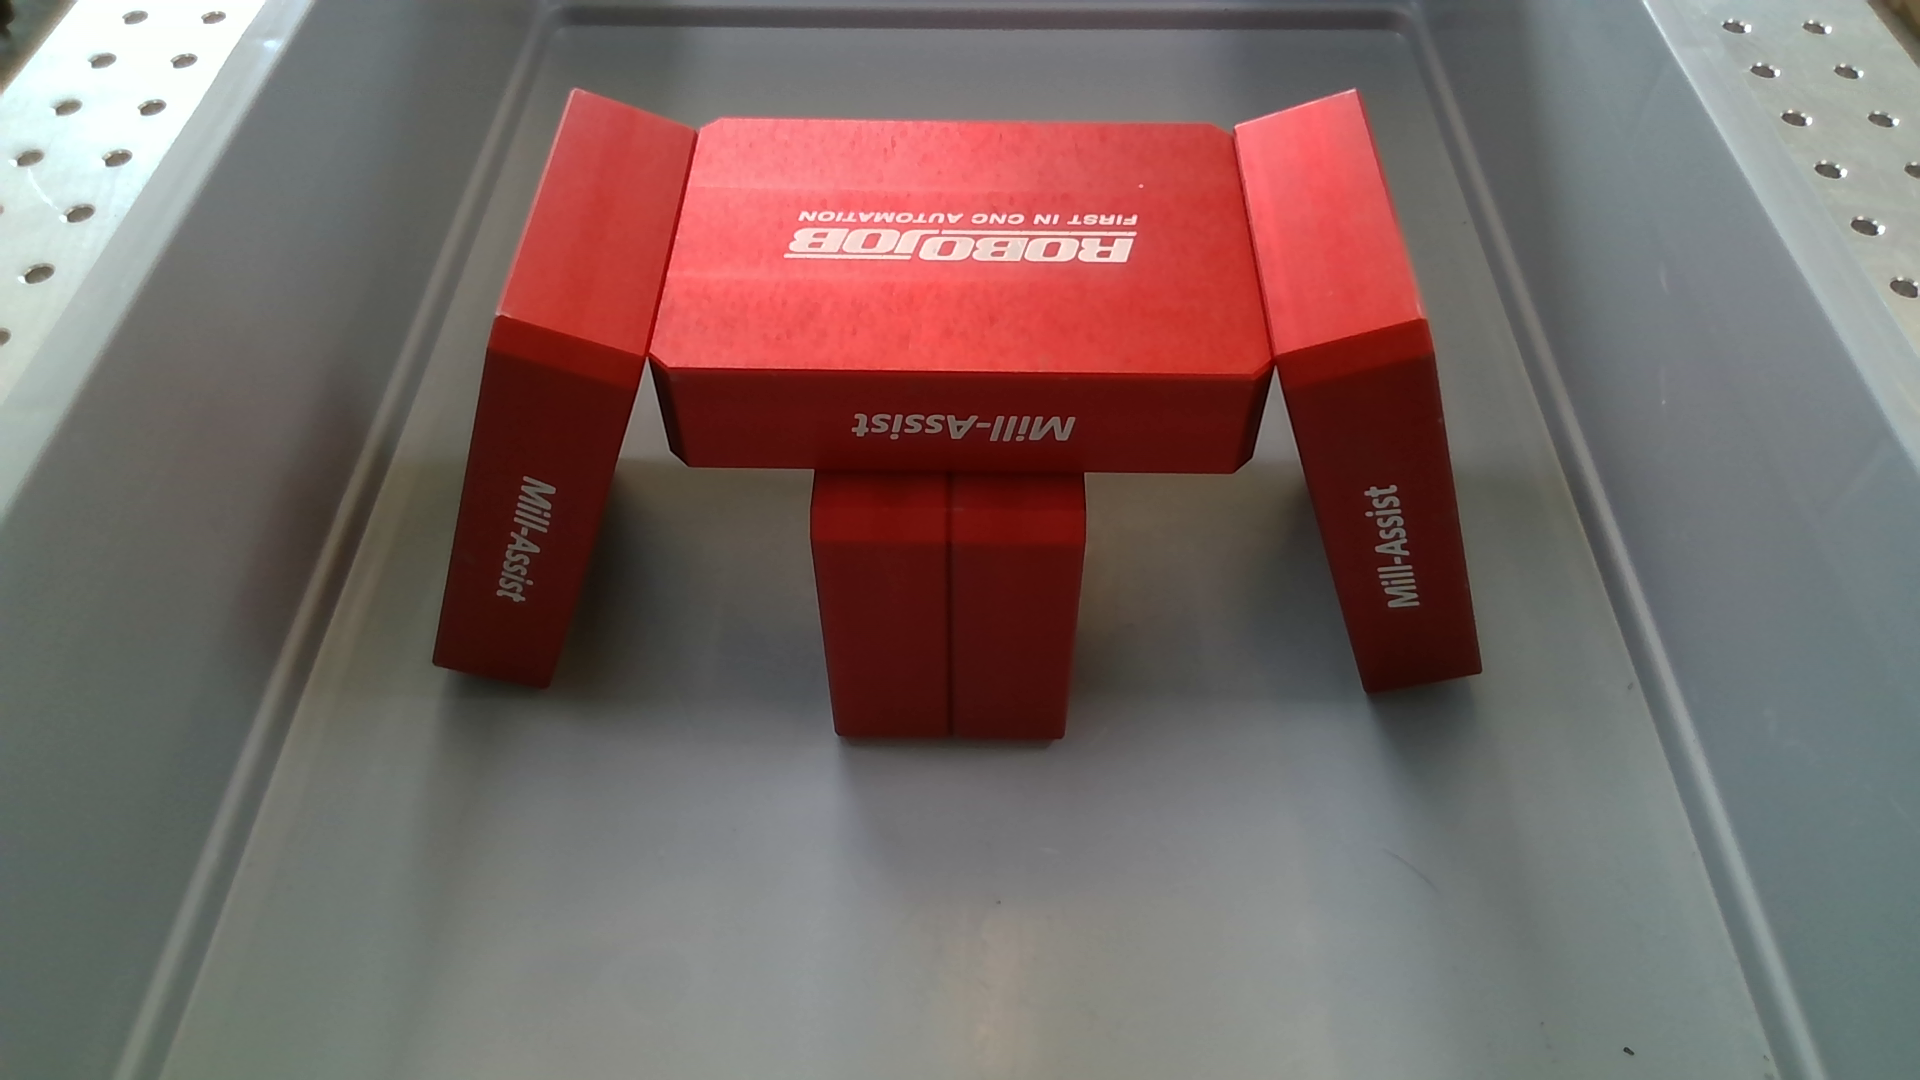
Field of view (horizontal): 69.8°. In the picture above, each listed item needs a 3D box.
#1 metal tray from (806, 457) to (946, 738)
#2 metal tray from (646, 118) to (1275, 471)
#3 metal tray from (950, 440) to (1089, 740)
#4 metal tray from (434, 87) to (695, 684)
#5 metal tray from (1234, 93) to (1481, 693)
[{"bbox_3d":[-0.018,-0.024,0.371,0.030,0.090,0.130,1,50,0],"label":"metal tray"},{"bbox_3d":[0.001,-0.059,0.321,0.130,0.030,0.090,1,51,0],"label":"metal tray"},{"bbox_3d":[0.014,-0.023,0.370,0.030,0.090,0.130,1,50,0],"label":"metal tray"},{"bbox_3d":[-0.102,-0.035,0.351,0.030,0.130,0.090,14,49,-16],"label":"metal tray"},{"bbox_3d":[0.102,-0.033,0.350,0.030,0.130,0.090,-13,48,16],"label":"metal tray"}]
